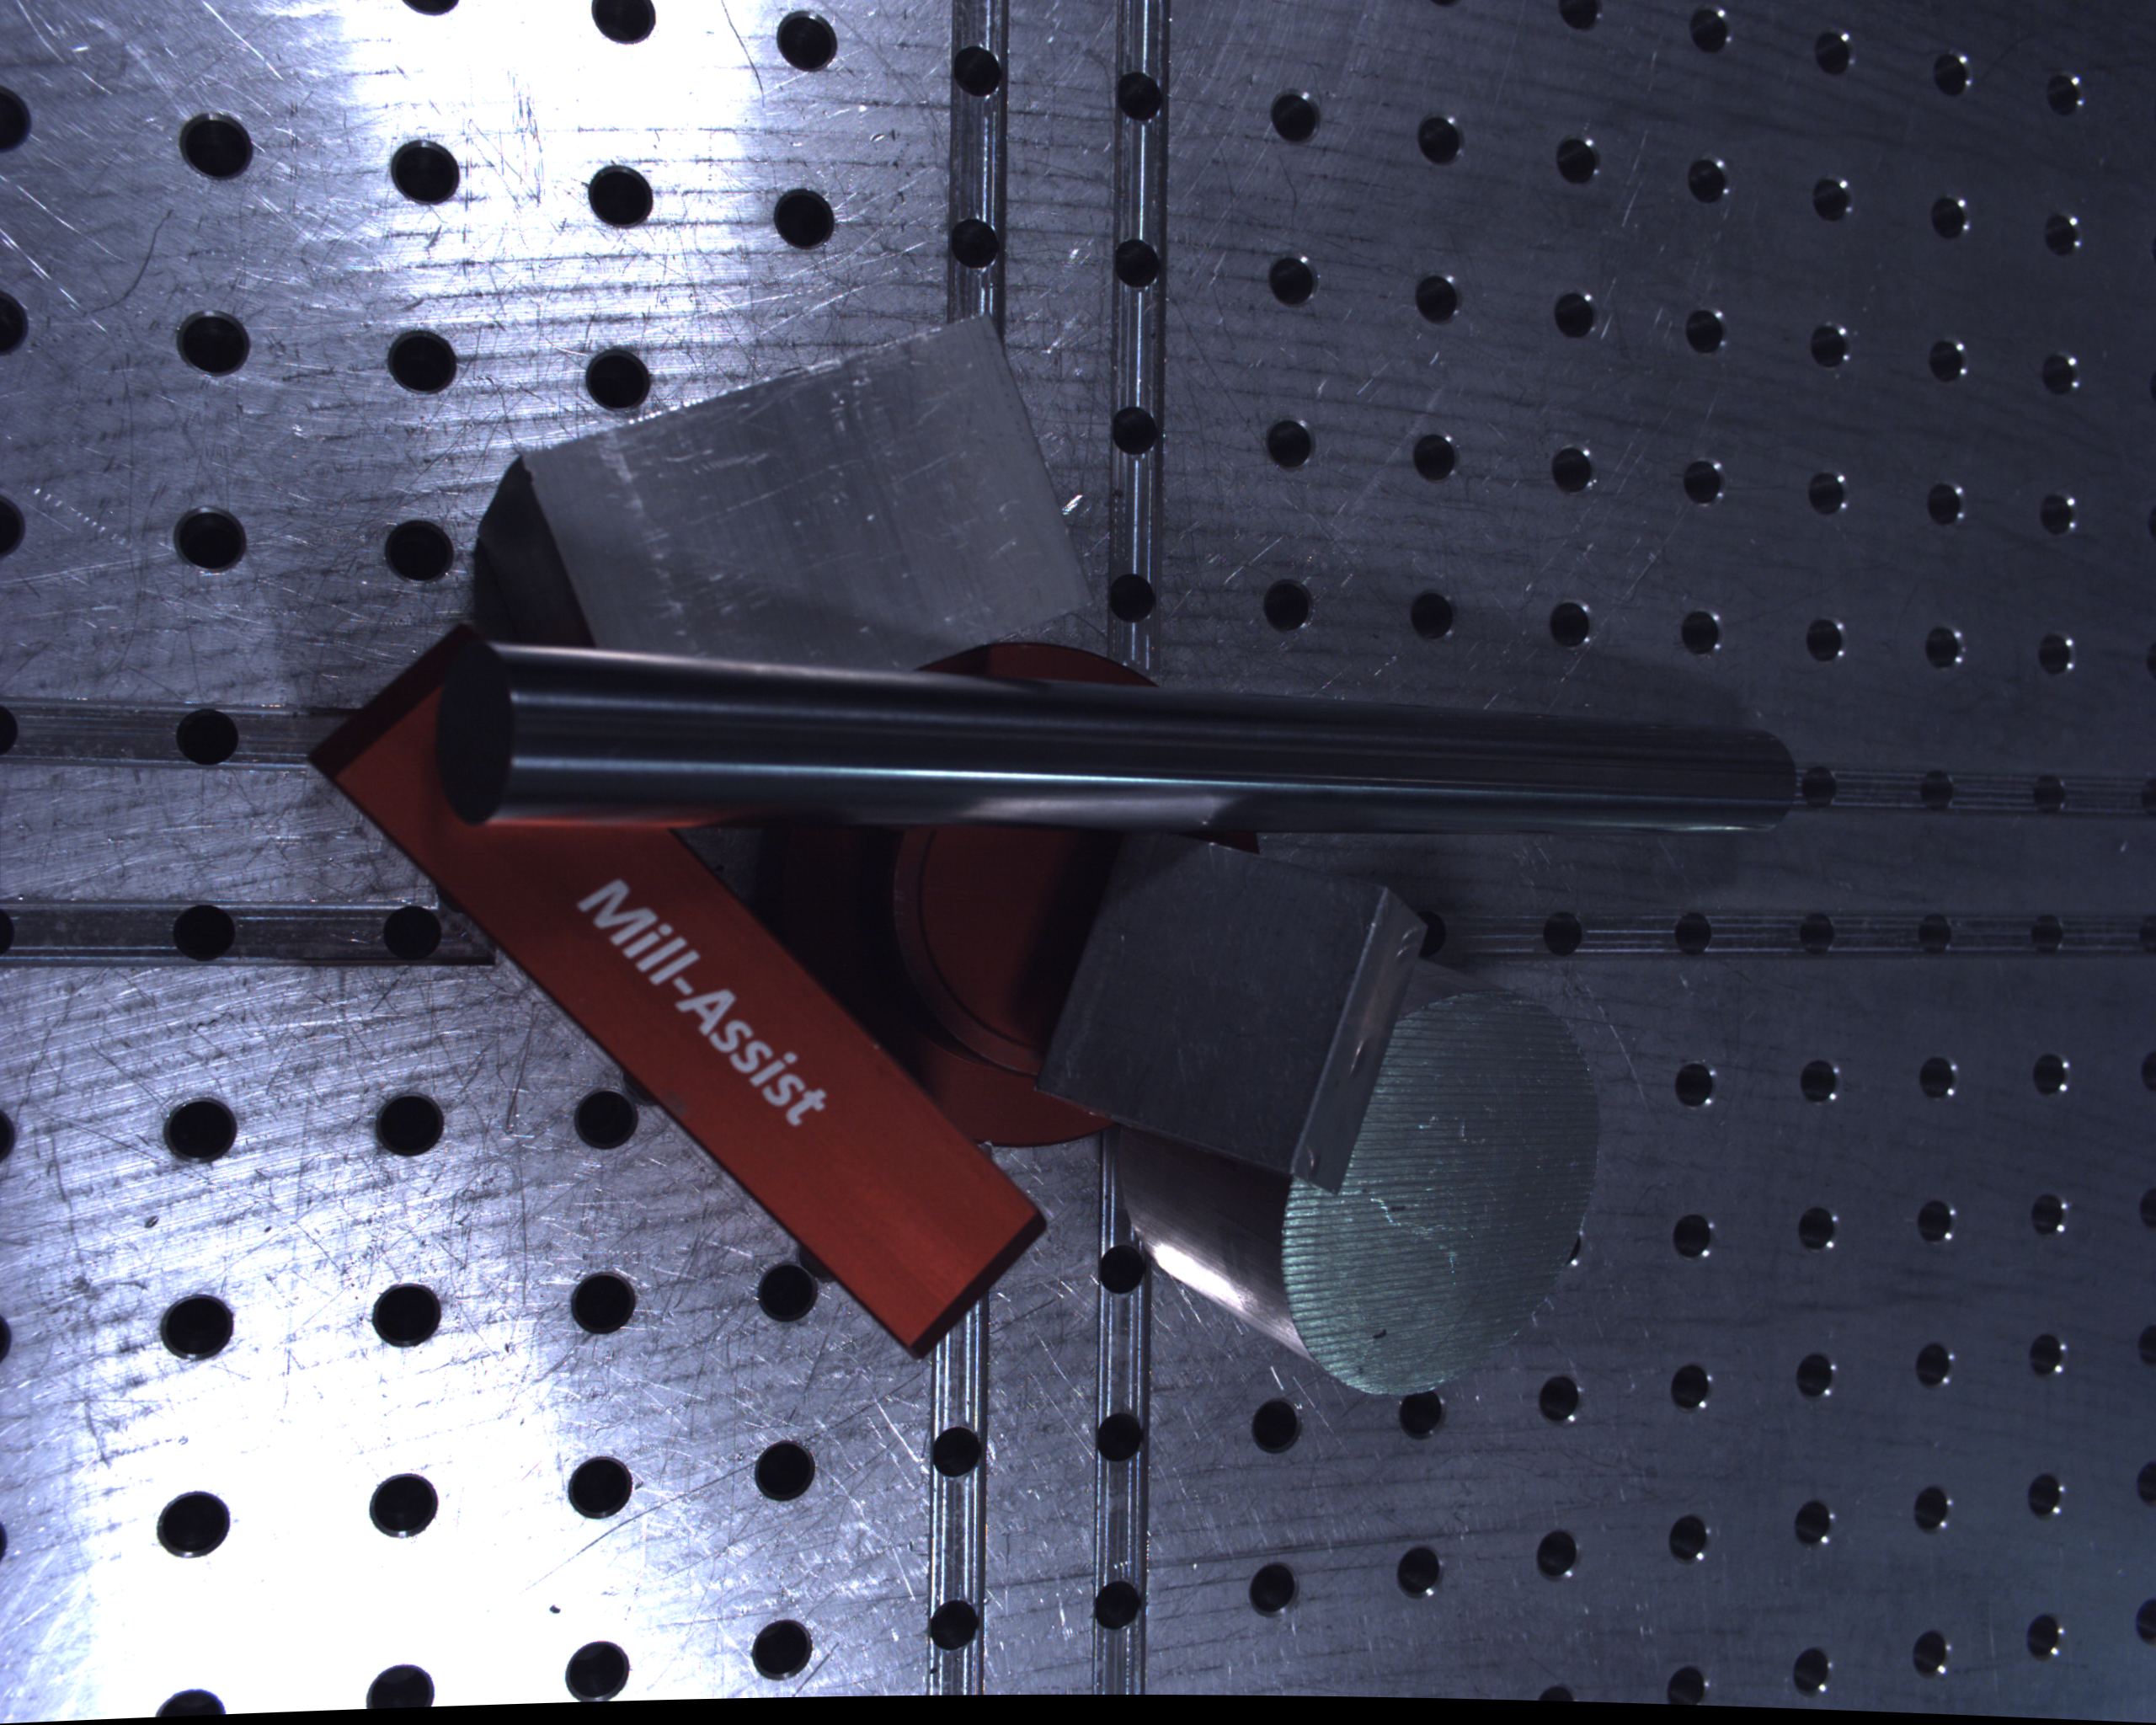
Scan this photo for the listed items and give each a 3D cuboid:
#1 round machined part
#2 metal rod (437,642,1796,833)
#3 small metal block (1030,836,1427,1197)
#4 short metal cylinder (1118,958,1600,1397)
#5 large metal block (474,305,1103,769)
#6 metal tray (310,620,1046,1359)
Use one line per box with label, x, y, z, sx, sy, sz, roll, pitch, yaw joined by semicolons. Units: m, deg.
round machined part;-0.010;0.006;0.404;0.099;0.042;0.097;0;90;-21
metal rod;0.035;-0.018;0.376;0.302;0.025;0.025;0;90;-40
small metal block;0.027;0.025;0.364;0.025;0.050;0.050;36;72;-60
short metal cylinder;0.055;0.057;0.408;0.081;0.050;0.079;-10;108;-33
large metal block;-0.054;-0.052;0.363;0.081;0.080;0.050;-22;98;-19
metal tray;-0.071;0.021;0.352;0.030;0.090;0.130;-46;105;-14
